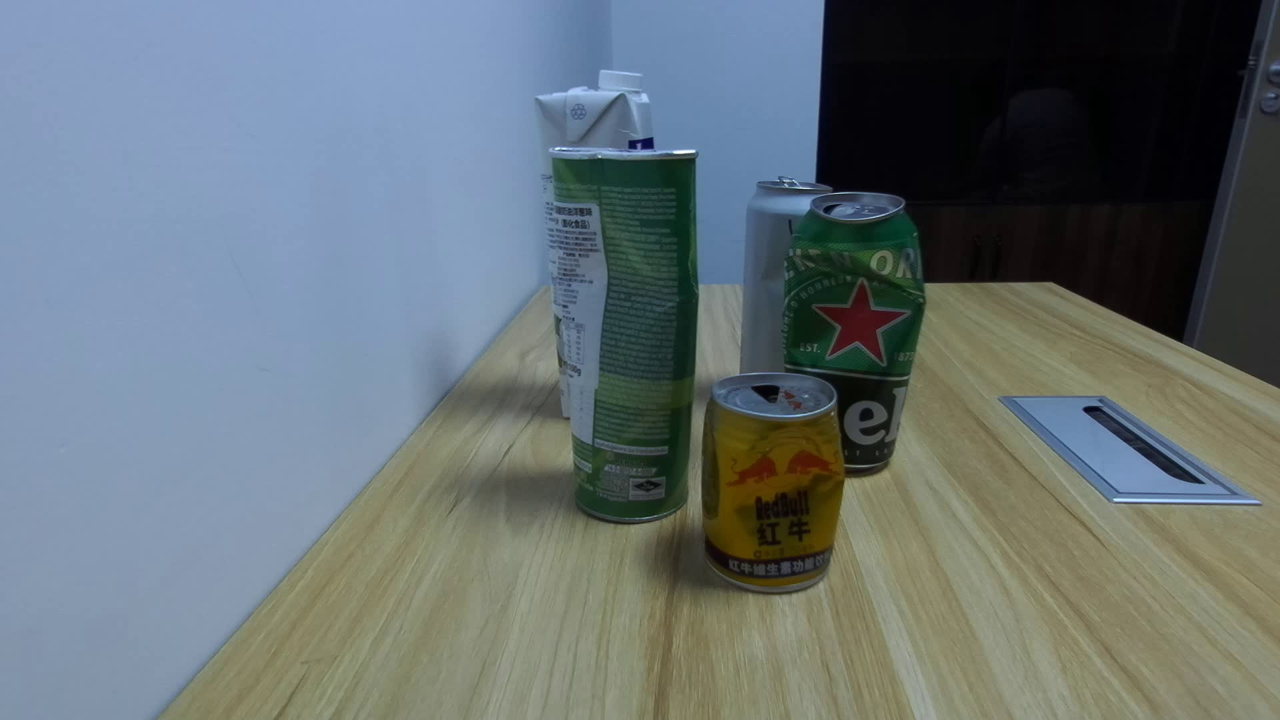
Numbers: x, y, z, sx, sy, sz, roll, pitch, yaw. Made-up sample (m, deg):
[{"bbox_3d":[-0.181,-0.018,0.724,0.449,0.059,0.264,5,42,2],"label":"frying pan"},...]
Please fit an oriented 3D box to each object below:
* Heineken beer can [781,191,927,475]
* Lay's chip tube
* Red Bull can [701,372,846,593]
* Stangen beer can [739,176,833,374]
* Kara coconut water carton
[{"bbox_3d":[0.129,-0.014,0.439,0.069,0.168,0.068,-11,22,-23],"label":"Heineken beer can"},{"bbox_3d":[-0.008,-0.013,0.392,0.075,0.199,0.069,-2,19,-5],"label":"Lay's chip tube"},{"bbox_3d":[0.065,0.057,0.348,0.072,0.092,0.072,-2,20,1],"label":"Red Bull can"},{"bbox_3d":[0.117,-0.051,0.534,0.069,0.173,0.070,11,32,30],"label":"Stangen beer can"},{"bbox_3d":[-0.023,-0.078,0.516,0.075,0.245,0.077,-1,18,7],"label":"Kara coconut water carton"}]
